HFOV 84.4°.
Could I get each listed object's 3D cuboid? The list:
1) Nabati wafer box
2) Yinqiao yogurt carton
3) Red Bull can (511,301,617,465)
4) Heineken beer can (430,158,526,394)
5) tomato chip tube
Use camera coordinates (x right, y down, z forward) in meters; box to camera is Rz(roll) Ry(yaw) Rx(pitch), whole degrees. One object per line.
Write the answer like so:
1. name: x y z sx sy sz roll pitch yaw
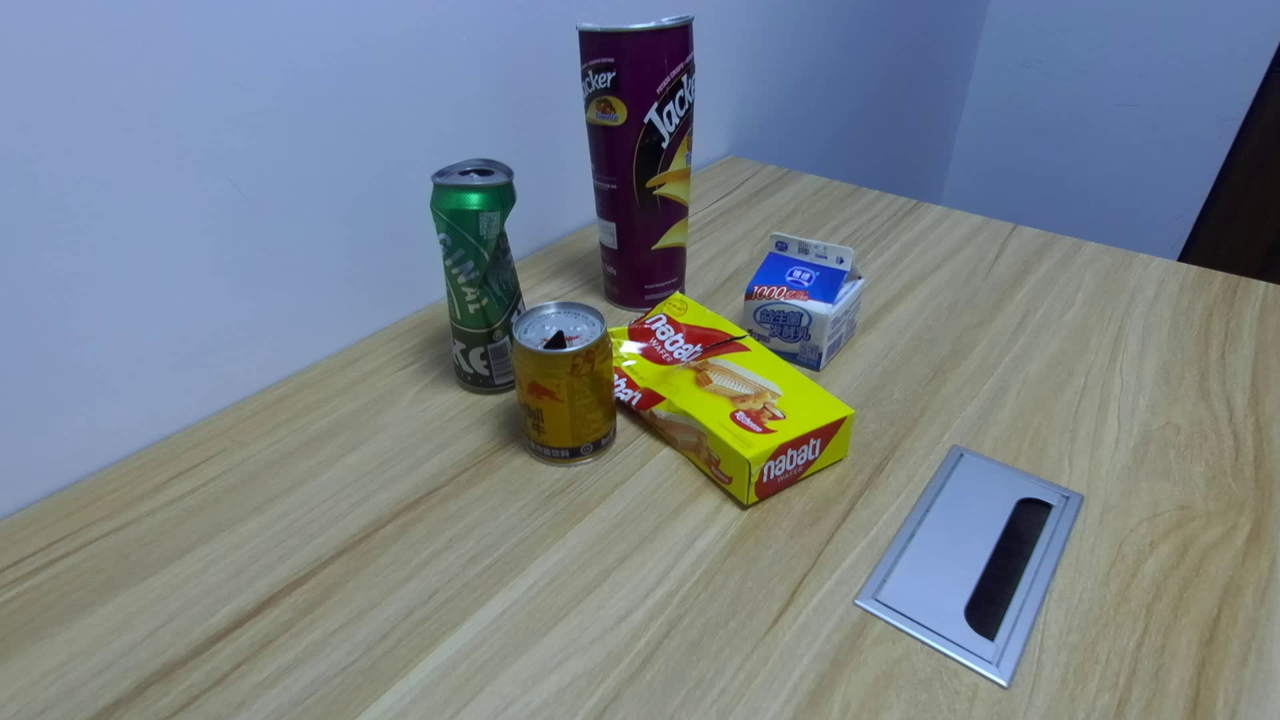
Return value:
1. Nabati wafer box: 0.043 0.017 0.511 0.107 0.042 0.203 -21 39 -27
2. Yinqiao yogurt carton: 0.132 -0.055 0.567 0.075 0.092 0.074 20 40 30
3. Red Bull can: -0.050 0.015 0.473 0.067 0.093 0.067 -1 36 1
4. Heineken beer can: -0.115 -0.057 0.519 0.065 0.164 0.078 27 40 36
5. tomato chip tube: 0.002 -0.160 0.597 0.077 0.235 0.076 11 36 19
